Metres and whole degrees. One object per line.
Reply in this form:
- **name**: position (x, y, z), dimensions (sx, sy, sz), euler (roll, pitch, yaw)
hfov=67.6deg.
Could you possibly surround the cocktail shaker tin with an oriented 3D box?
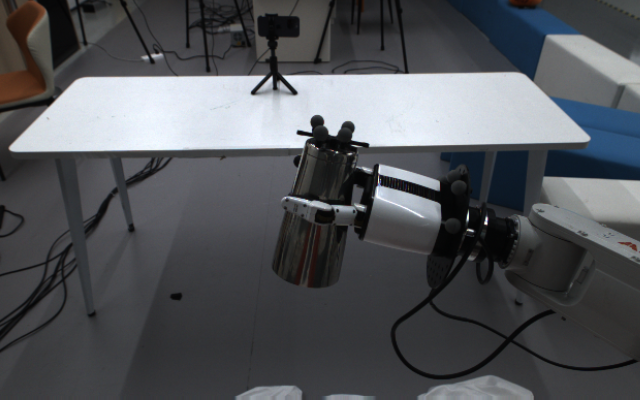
- **cocktail shaker tin**: position (-0.001, 0.013, 0.611), dimensions (0.093, 0.170, 0.093), euler (11, 19, -4)
